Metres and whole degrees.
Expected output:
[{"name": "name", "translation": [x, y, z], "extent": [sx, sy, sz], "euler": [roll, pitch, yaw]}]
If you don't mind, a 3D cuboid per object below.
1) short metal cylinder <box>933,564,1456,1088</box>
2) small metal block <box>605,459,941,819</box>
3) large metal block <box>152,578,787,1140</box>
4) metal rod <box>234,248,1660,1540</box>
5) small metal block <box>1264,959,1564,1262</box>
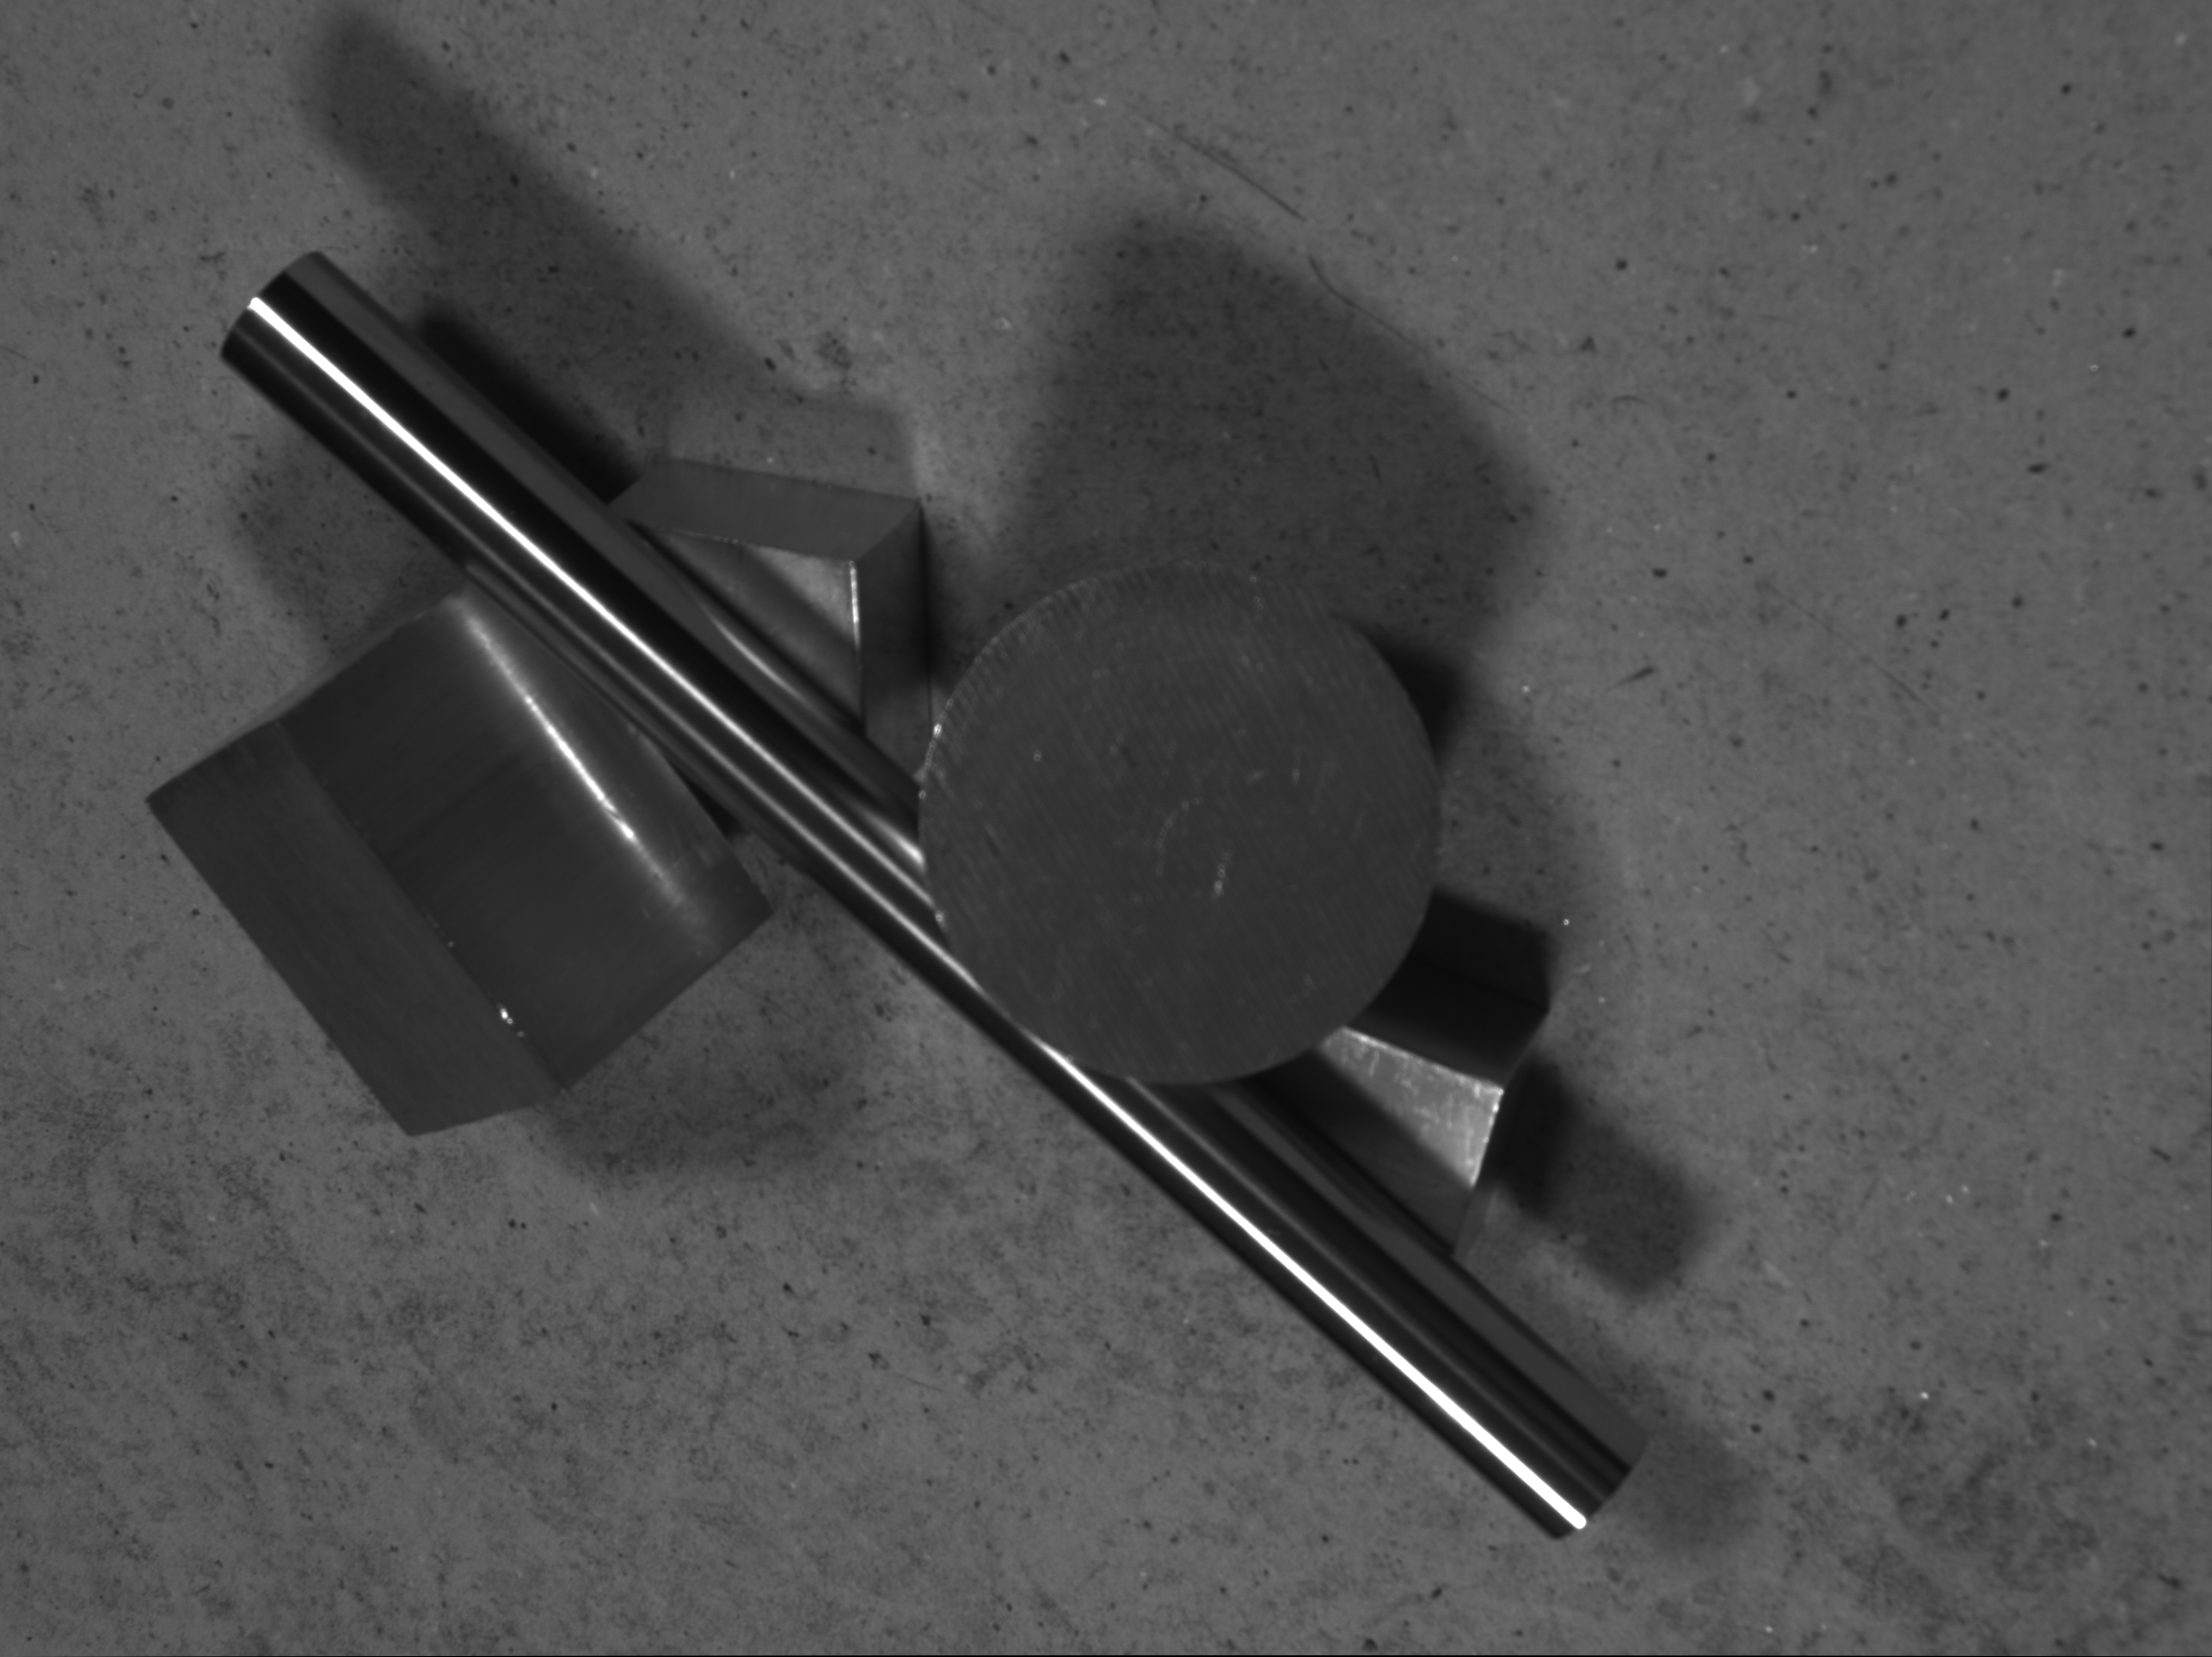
[{"name": "short metal cylinder", "translation": [0.013, 0.000, 0.584], "extent": [0.080, 0.050, 0.080], "euler": [0, 89, -3]}, {"name": "small metal block", "translation": [-0.058, -0.033, 0.640], "extent": [0.050, 0.025, 0.050], "euler": [11, 123, 20]}, {"name": "large metal block", "translation": [-0.115, 0.005, 0.656], "extent": [0.080, 0.050, 0.080], "euler": [54, 150, -11]}, {"name": "metal rod", "translation": [-0.026, 0.012, 0.620], "extent": [0.300, 0.025, 0.025], "euler": [42, 128, -2]}, {"name": "small metal block", "translation": [0.047, 0.048, 0.637], "extent": [0.050, 0.025, 0.050], "euler": [22, 126, 14]}]
